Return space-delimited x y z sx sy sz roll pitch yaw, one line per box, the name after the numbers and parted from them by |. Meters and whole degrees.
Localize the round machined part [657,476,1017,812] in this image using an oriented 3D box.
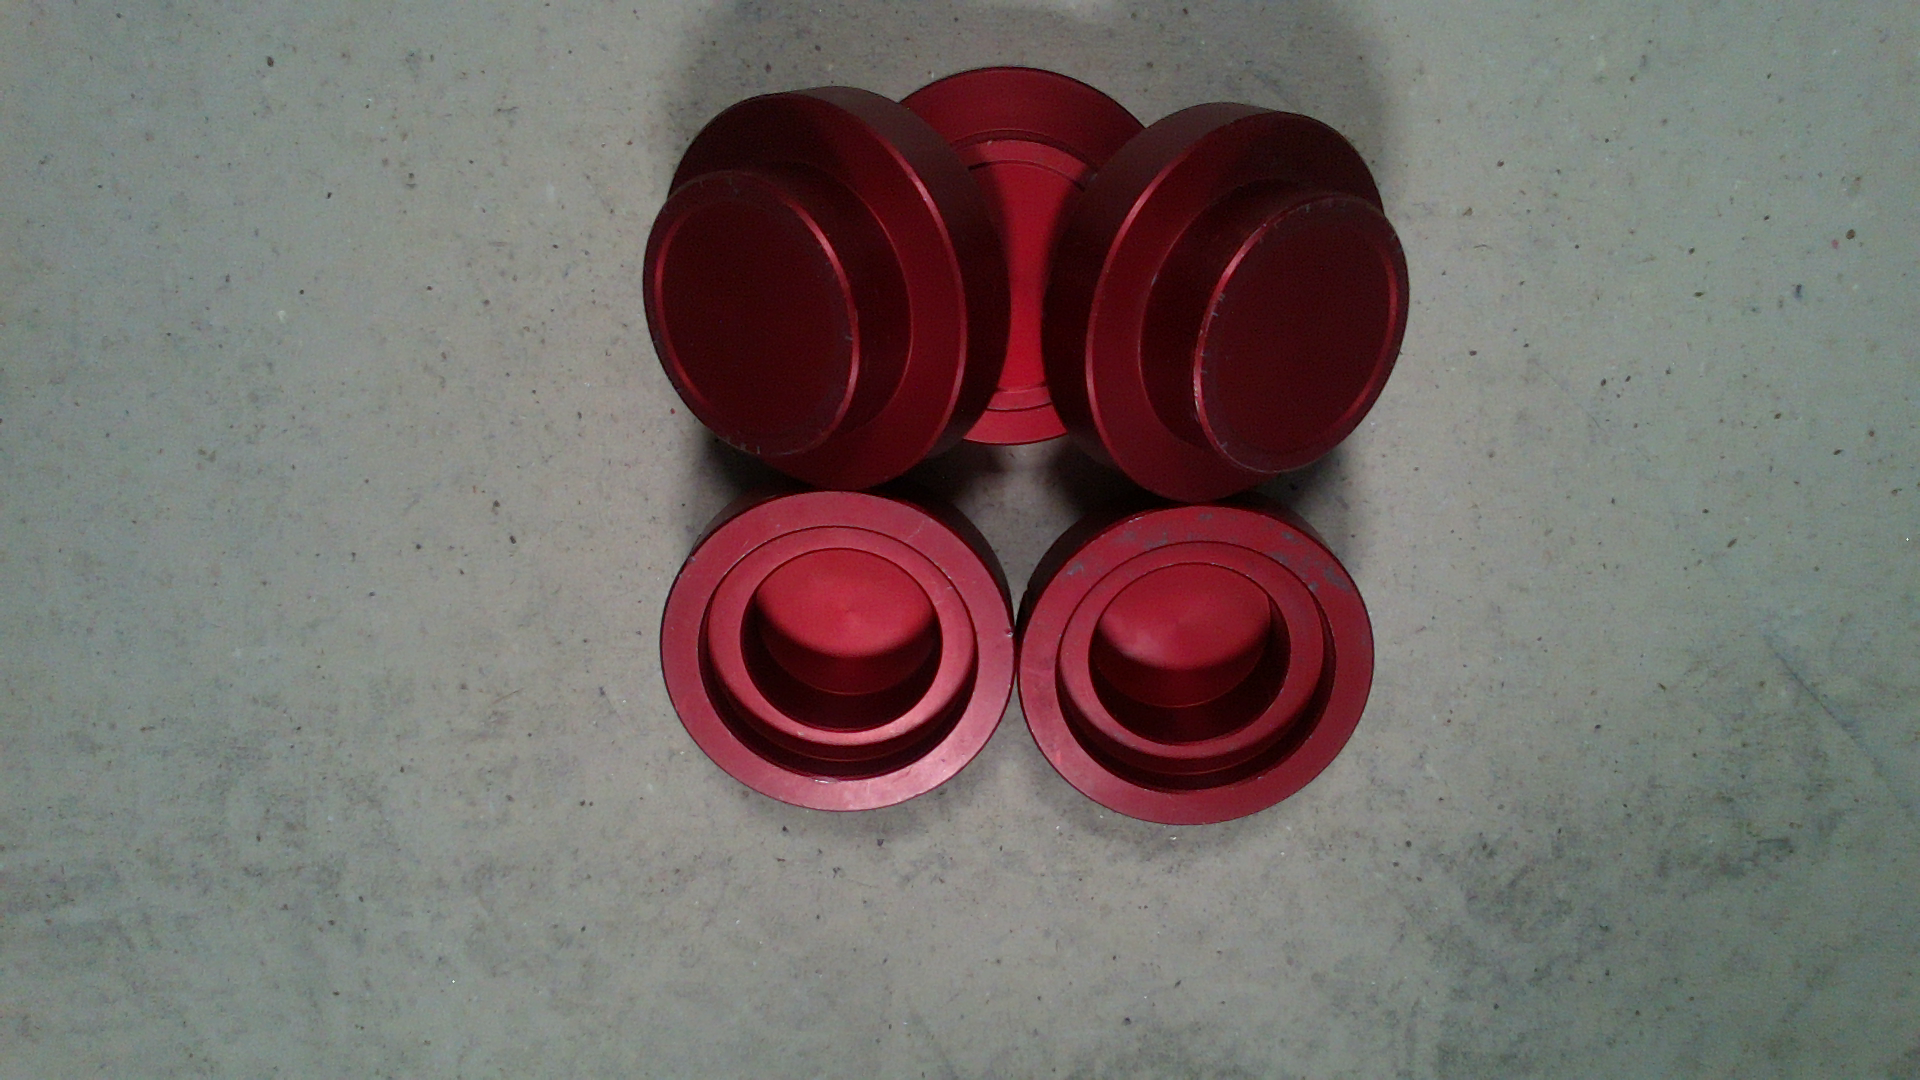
-0.033 0.025 0.394 0.098 0.042 0.098 0 110 0 | round machined part

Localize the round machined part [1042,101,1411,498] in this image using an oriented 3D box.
0.072 -0.056 0.342 0.098 0.042 0.098 -15 120 -28 | round machined part

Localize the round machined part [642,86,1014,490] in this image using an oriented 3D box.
-0.039 -0.059 0.338 0.098 0.042 0.098 15 118 30 | round machined part

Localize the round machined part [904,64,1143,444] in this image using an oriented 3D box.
0.012 -0.072 0.358 0.098 0.042 0.098 0 110 0 | round machined part

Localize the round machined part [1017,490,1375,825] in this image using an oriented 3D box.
0.065 0.029 0.396 0.098 0.042 0.098 0 110 0 | round machined part
